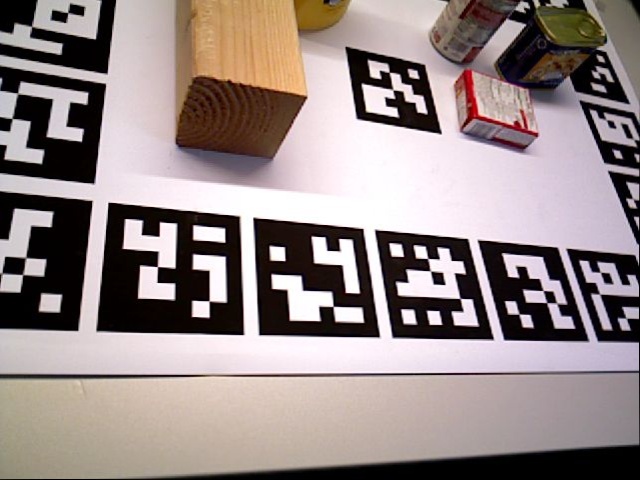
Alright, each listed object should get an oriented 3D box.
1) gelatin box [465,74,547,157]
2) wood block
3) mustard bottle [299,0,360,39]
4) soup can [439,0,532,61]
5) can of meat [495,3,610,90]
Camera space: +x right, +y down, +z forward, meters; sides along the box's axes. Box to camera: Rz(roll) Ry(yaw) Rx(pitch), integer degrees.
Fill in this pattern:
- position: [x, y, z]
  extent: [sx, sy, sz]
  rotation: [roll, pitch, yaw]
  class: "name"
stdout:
- position: [0.208, -0.138, 0.603]
  extent: [0.088, 0.031, 0.072]
  rotation: [12, 62, -14]
  class: "gelatin box"
- position: [-0.070, -0.175, 0.471]
  extent: [0.090, 0.092, 0.204]
  rotation: [5, 58, -23]
  class: "wood block"
- position: [0.024, -0.283, 0.512]
  extent: [0.094, 0.196, 0.058]
  rotation: [-23, 73, -33]
  class: "mustard bottle"
- position: [0.190, -0.262, 0.611]
  extent: [0.067, 0.104, 0.067]
  rotation: [9, 62, -18]
  class: "soup can"
- position: [0.275, -0.227, 0.651]
  extent: [0.100, 0.086, 0.057]
  rotation: [-10, 68, -30]
  class: "can of meat"
